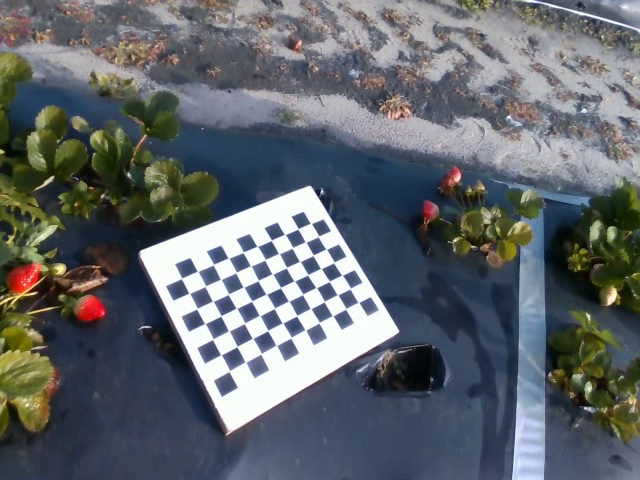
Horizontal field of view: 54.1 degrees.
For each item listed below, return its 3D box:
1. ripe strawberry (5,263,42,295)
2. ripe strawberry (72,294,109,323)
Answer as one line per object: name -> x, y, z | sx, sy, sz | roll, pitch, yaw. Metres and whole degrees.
ripe strawberry -> -0.371, 0.043, 0.778 | 0.049, 0.040, 0.031 | -46, -9, 11
ripe strawberry -> -0.291, 0.086, 0.785 | 0.043, 0.035, 0.030 | 24, -32, 0
